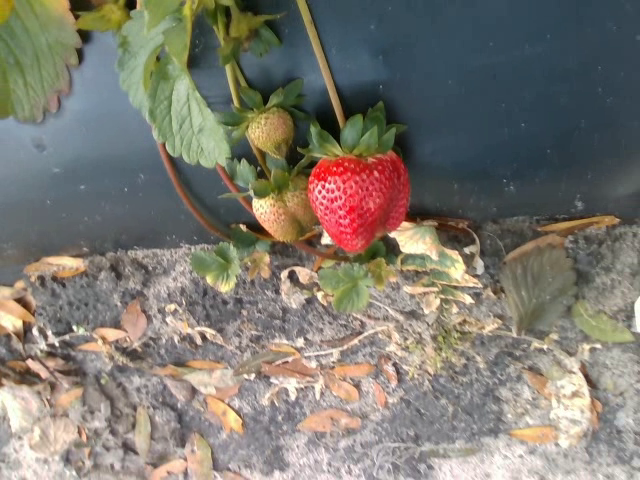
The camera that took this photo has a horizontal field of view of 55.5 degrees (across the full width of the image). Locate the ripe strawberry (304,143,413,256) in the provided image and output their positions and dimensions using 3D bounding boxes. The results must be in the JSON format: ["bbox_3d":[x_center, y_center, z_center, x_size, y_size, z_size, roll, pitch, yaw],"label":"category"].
[{"bbox_3d":[0.019,-0.014,0.315,0.066,0.053,0.074,-11,-30,27],"label":"ripe strawberry"}]
